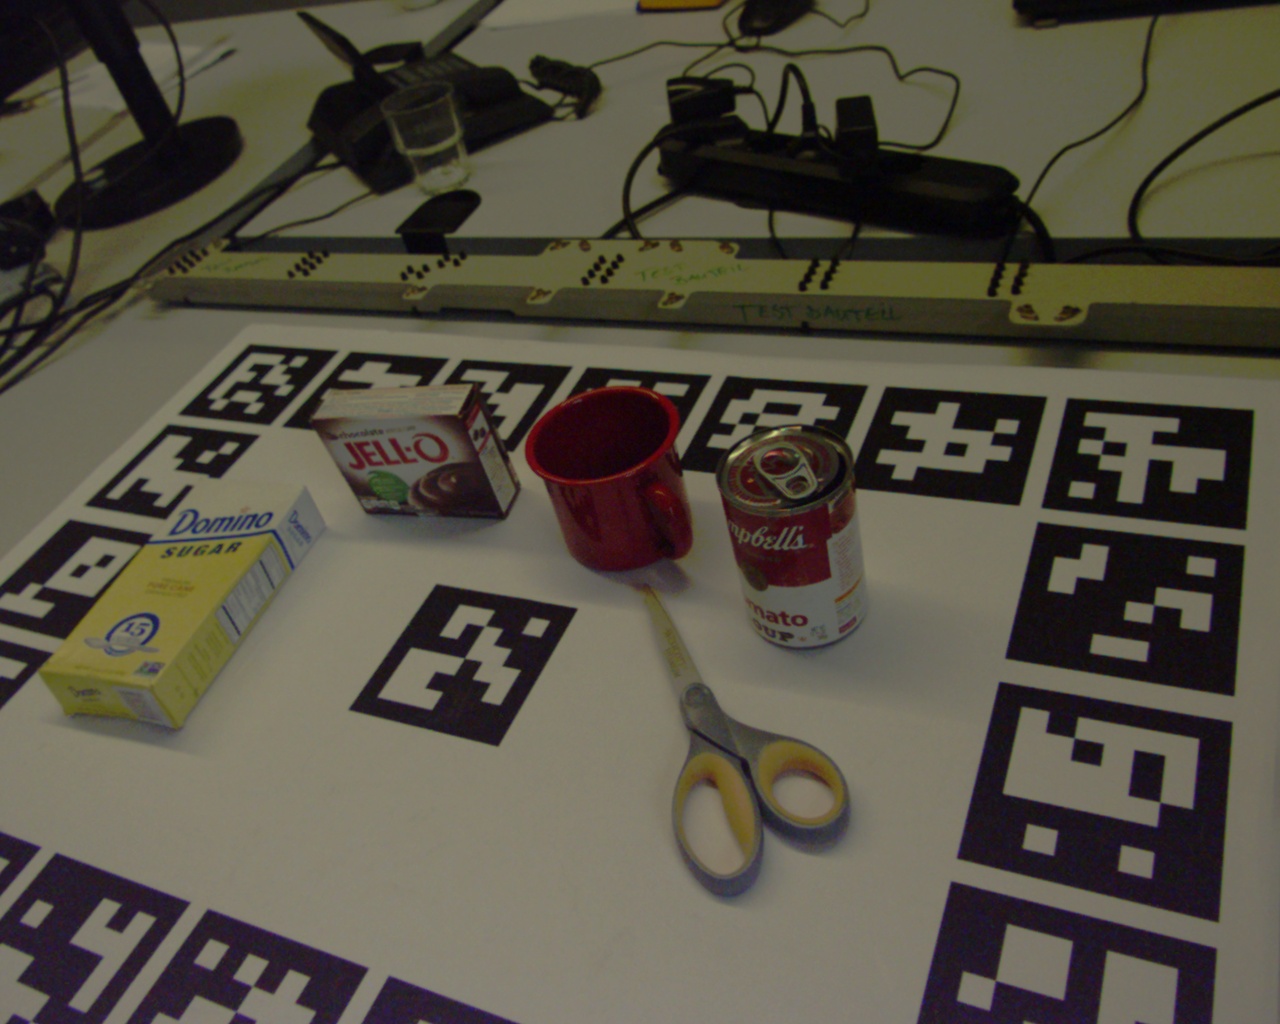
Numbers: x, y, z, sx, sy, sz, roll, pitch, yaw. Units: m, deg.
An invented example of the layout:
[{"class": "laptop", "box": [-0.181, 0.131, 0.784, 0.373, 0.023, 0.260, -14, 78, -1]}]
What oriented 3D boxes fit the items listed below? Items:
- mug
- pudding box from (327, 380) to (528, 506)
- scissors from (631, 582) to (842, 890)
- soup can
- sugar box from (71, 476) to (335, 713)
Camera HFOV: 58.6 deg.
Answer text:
[{"class": "mug", "box": [-0.006, -0.025, 0.719, 0.093, 0.081, 0.118, -21, 41, 1]}, {"class": "pudding box", "box": [-0.143, -0.046, 0.780, 0.115, 0.089, 0.038, 0, 52, 19]}, {"class": "scissors", "box": [0.035, 0.103, 0.617, 0.088, 0.015, 0.205, -30, 44, 2]}, {"class": "soup can", "box": [0.083, 0.014, 0.642, 0.068, 0.101, 0.068, -11, 41, 9]}, {"class": "sugar box", "box": [-0.292, 0.051, 0.776, 0.094, 0.045, 0.176, 3, 48, 25]}]
